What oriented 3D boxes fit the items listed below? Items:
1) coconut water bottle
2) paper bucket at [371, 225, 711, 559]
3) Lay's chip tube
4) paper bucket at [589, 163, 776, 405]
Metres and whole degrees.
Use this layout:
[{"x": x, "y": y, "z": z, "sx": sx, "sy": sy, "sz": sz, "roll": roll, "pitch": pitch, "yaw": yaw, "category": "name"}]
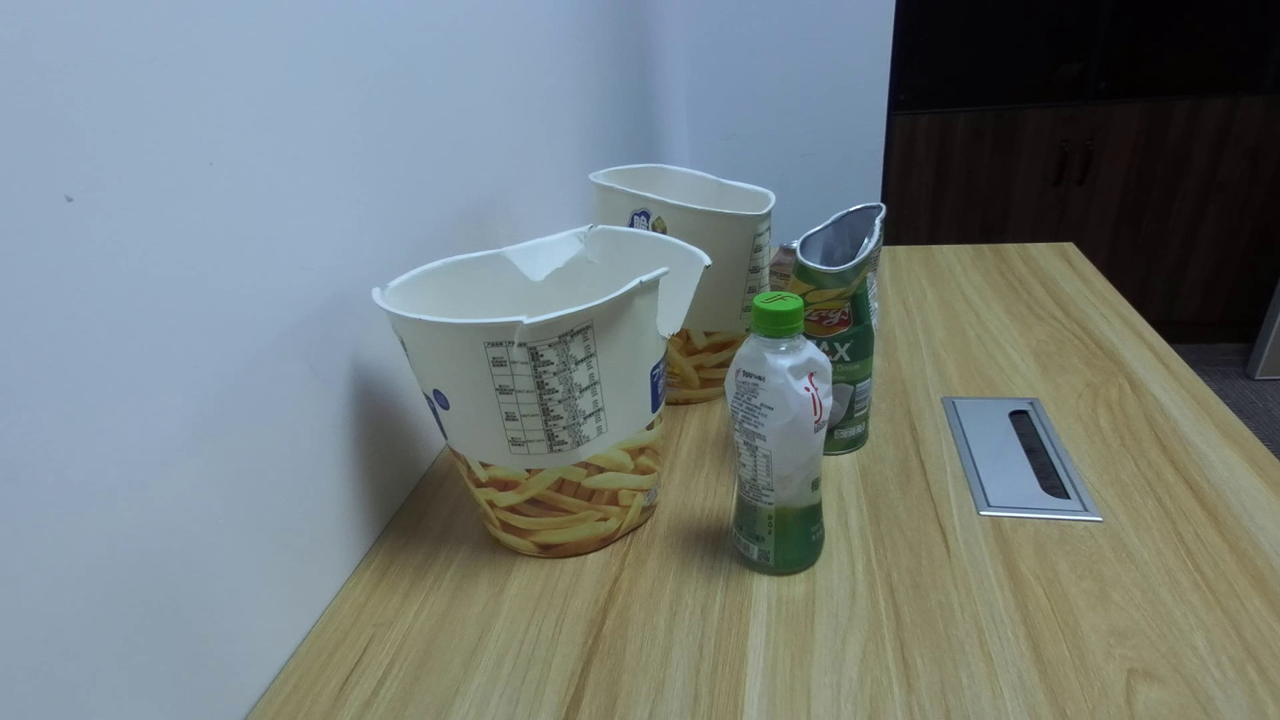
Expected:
[{"x": 0.090, "y": 0.047, "z": 0.457, "sx": 0.067, "sy": 0.187, "sz": 0.067, "roll": -5, "pitch": 26, "yaw": 3, "category": "coconut water bottle"}, {"x": -0.059, "y": 0.021, "z": 0.526, "sx": 0.203, "sy": 0.197, "sz": 0.145, "roll": -23, "pitch": 34, "yaw": -26, "category": "paper bucket"}, {"x": 0.153, "y": -0.016, "z": 0.557, "sx": 0.079, "sy": 0.200, "sz": 0.071, "roll": -7, "pitch": 35, "yaw": 2, "category": "Lay's chip tube"}, {"x": 0.037, "y": -0.078, "z": 0.683, "sx": 0.217, "sy": 0.199, "sz": 0.148, "roll": 9, "pitch": 30, "yaw": 26, "category": "paper bucket"}]
